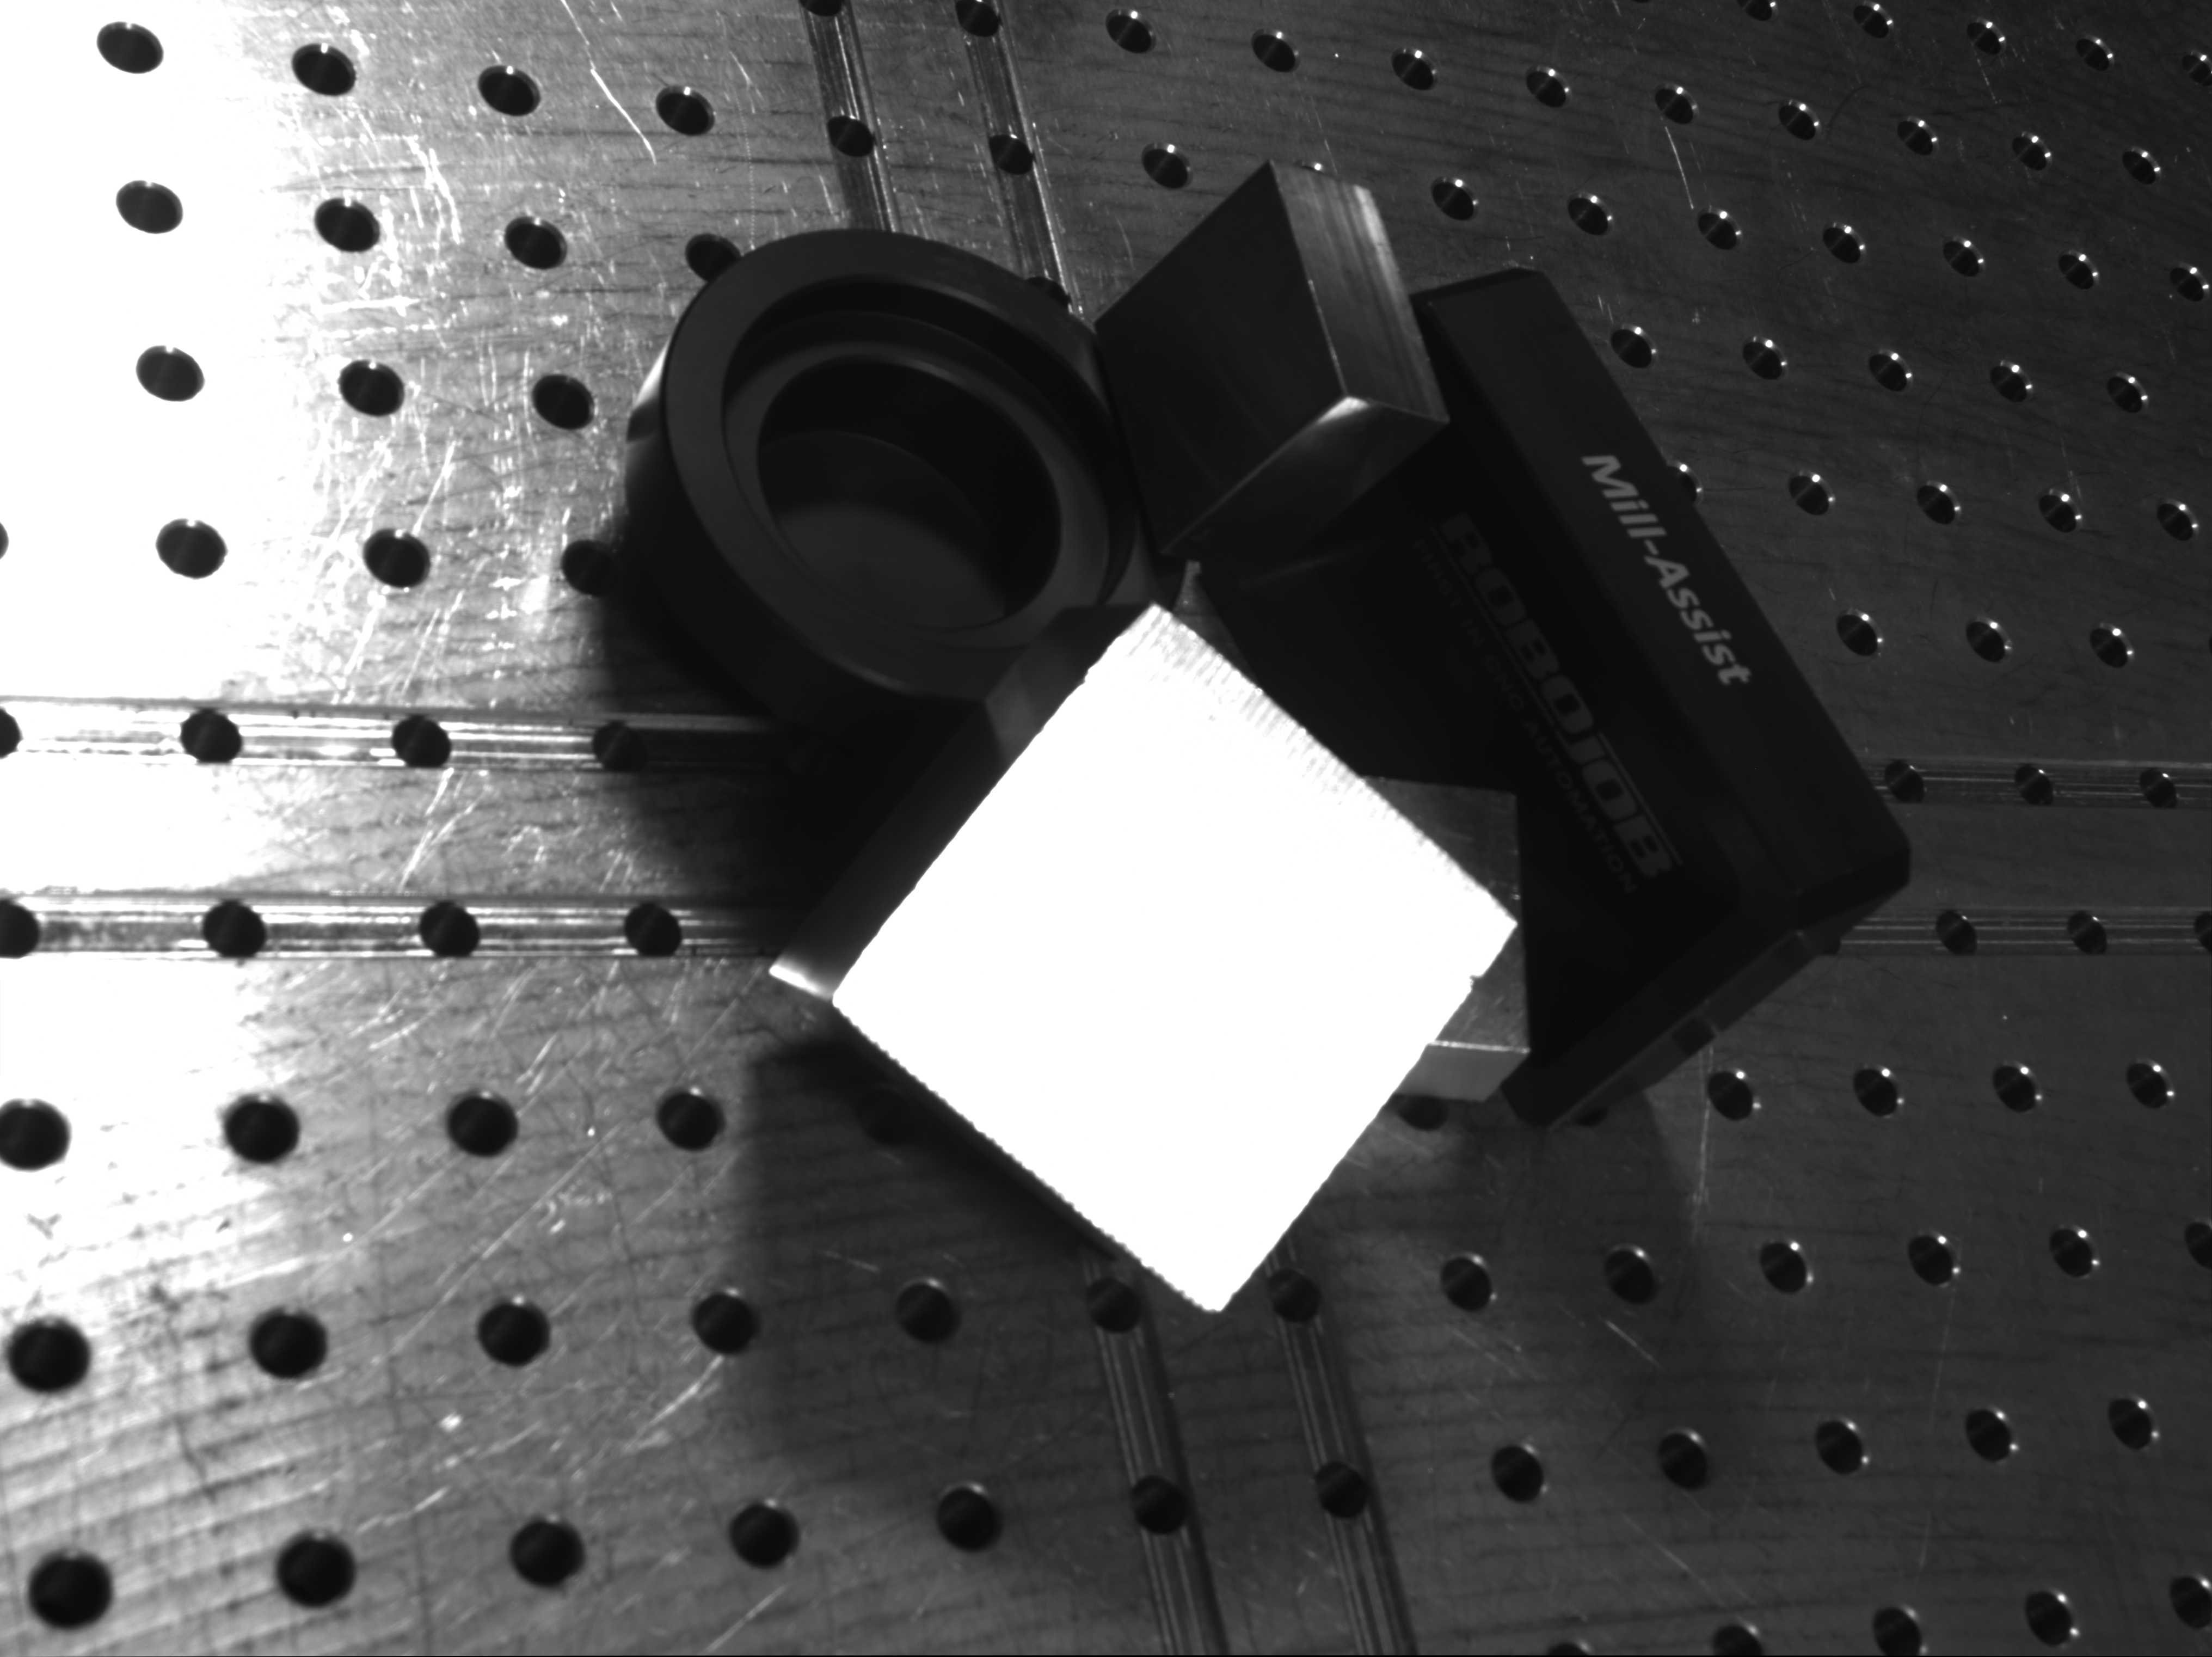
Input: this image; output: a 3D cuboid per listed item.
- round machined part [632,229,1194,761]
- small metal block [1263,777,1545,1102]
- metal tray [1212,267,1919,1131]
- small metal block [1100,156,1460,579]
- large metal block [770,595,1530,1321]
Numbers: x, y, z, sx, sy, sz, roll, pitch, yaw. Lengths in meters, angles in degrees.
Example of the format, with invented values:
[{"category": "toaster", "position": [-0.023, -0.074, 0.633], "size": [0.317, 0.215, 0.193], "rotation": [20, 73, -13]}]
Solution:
[{"category": "round machined part", "position": [-0.037, -0.054, 0.645], "size": [0.098, 0.042, 0.098], "rotation": [14, 56, -21]}, {"category": "small metal block", "position": [0.049, 0.019, 0.651], "size": [0.050, 0.025, 0.050], "rotation": [6, 63, -12]}, {"category": "metal tray", "position": [0.078, -0.022, 0.657], "size": [0.030, 0.090, 0.130], "rotation": [-19, 72, -35]}, {"category": "small metal block", "position": [0.029, -0.080, 0.639], "size": [0.025, 0.050, 0.050], "rotation": [9, 55, -40]}, {"category": "large metal block", "position": [0.006, 0.019, 0.589], "size": [0.080, 0.050, 0.080], "rotation": [41, 82, -14]}]
